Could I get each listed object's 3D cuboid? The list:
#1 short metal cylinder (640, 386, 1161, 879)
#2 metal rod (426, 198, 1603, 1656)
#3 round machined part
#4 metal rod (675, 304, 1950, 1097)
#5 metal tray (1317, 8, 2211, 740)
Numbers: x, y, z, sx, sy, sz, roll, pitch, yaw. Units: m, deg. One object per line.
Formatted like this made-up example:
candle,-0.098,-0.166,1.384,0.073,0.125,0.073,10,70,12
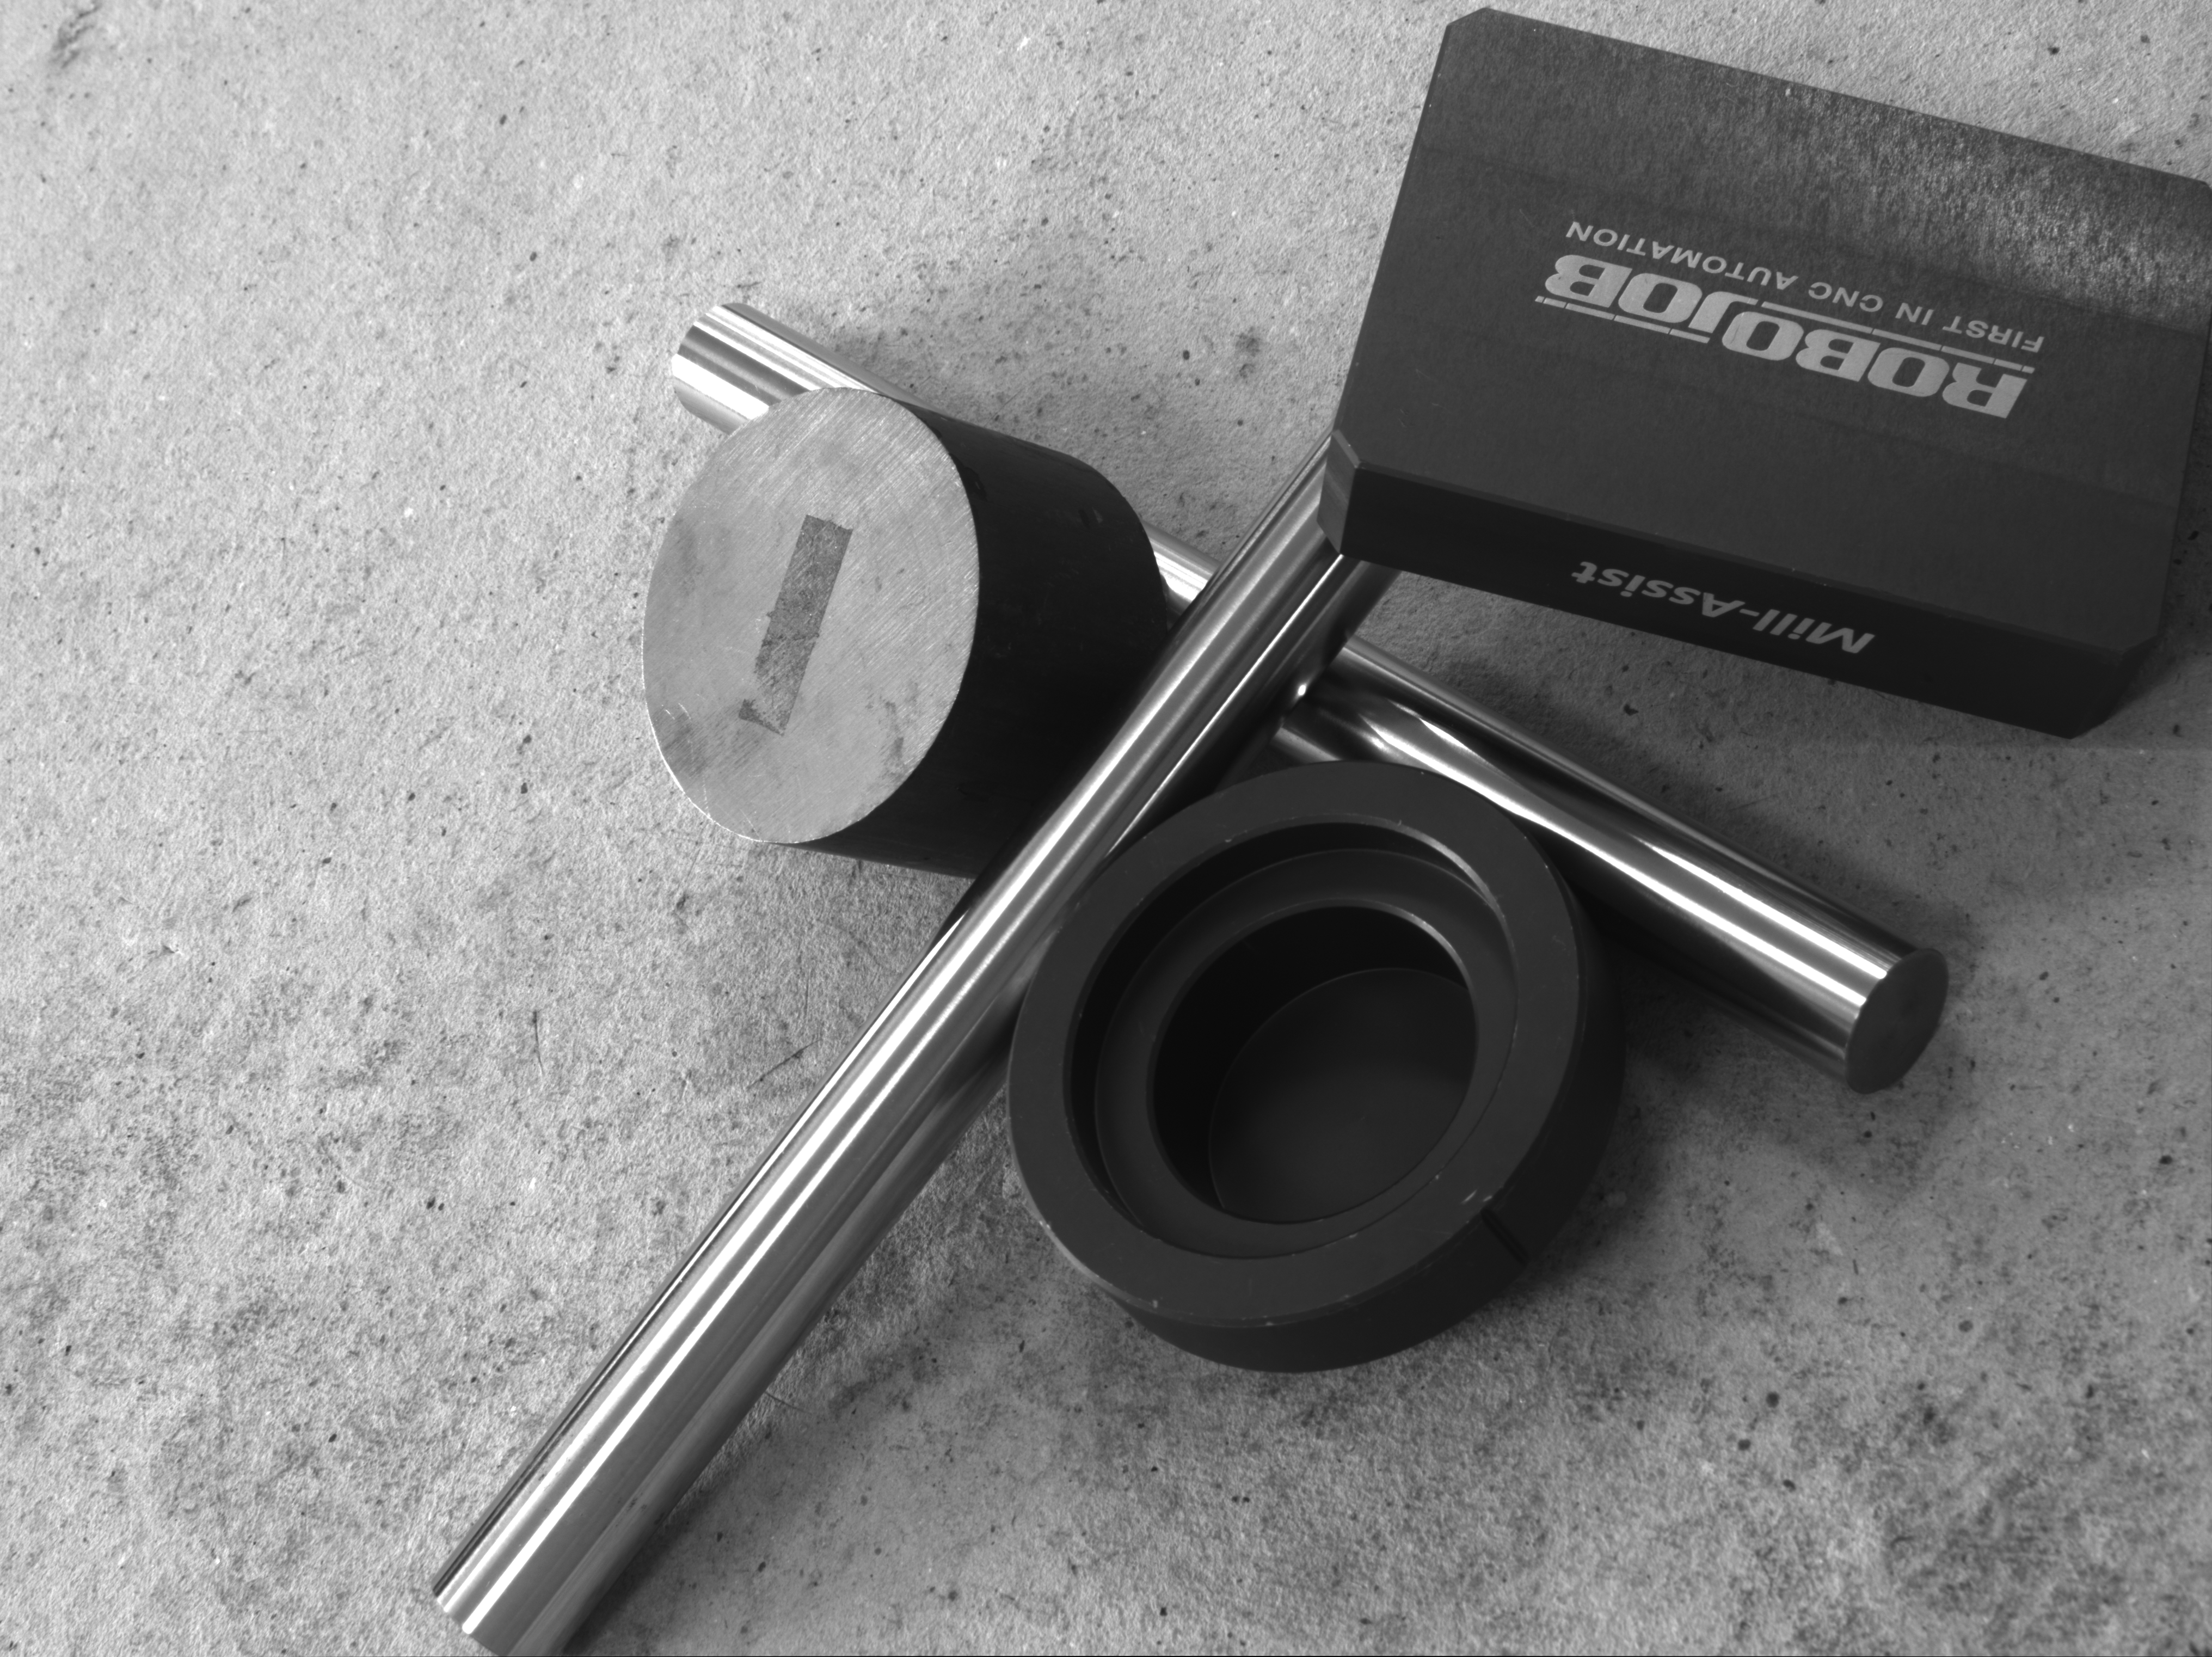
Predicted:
short metal cylinder,-0.037,-0.034,0.654,0.080,0.050,0.080,-8,77,39
metal rod,-0.012,0.016,0.620,0.300,0.025,0.025,-52,51,0
round machined part,0.037,0.042,0.589,0.098,0.042,0.098,-14,56,21
metal rod,0.022,-0.032,0.655,0.299,0.025,0.025,32,80,38
metal tray,0.108,-0.074,0.594,0.130,0.030,0.090,15,66,4
